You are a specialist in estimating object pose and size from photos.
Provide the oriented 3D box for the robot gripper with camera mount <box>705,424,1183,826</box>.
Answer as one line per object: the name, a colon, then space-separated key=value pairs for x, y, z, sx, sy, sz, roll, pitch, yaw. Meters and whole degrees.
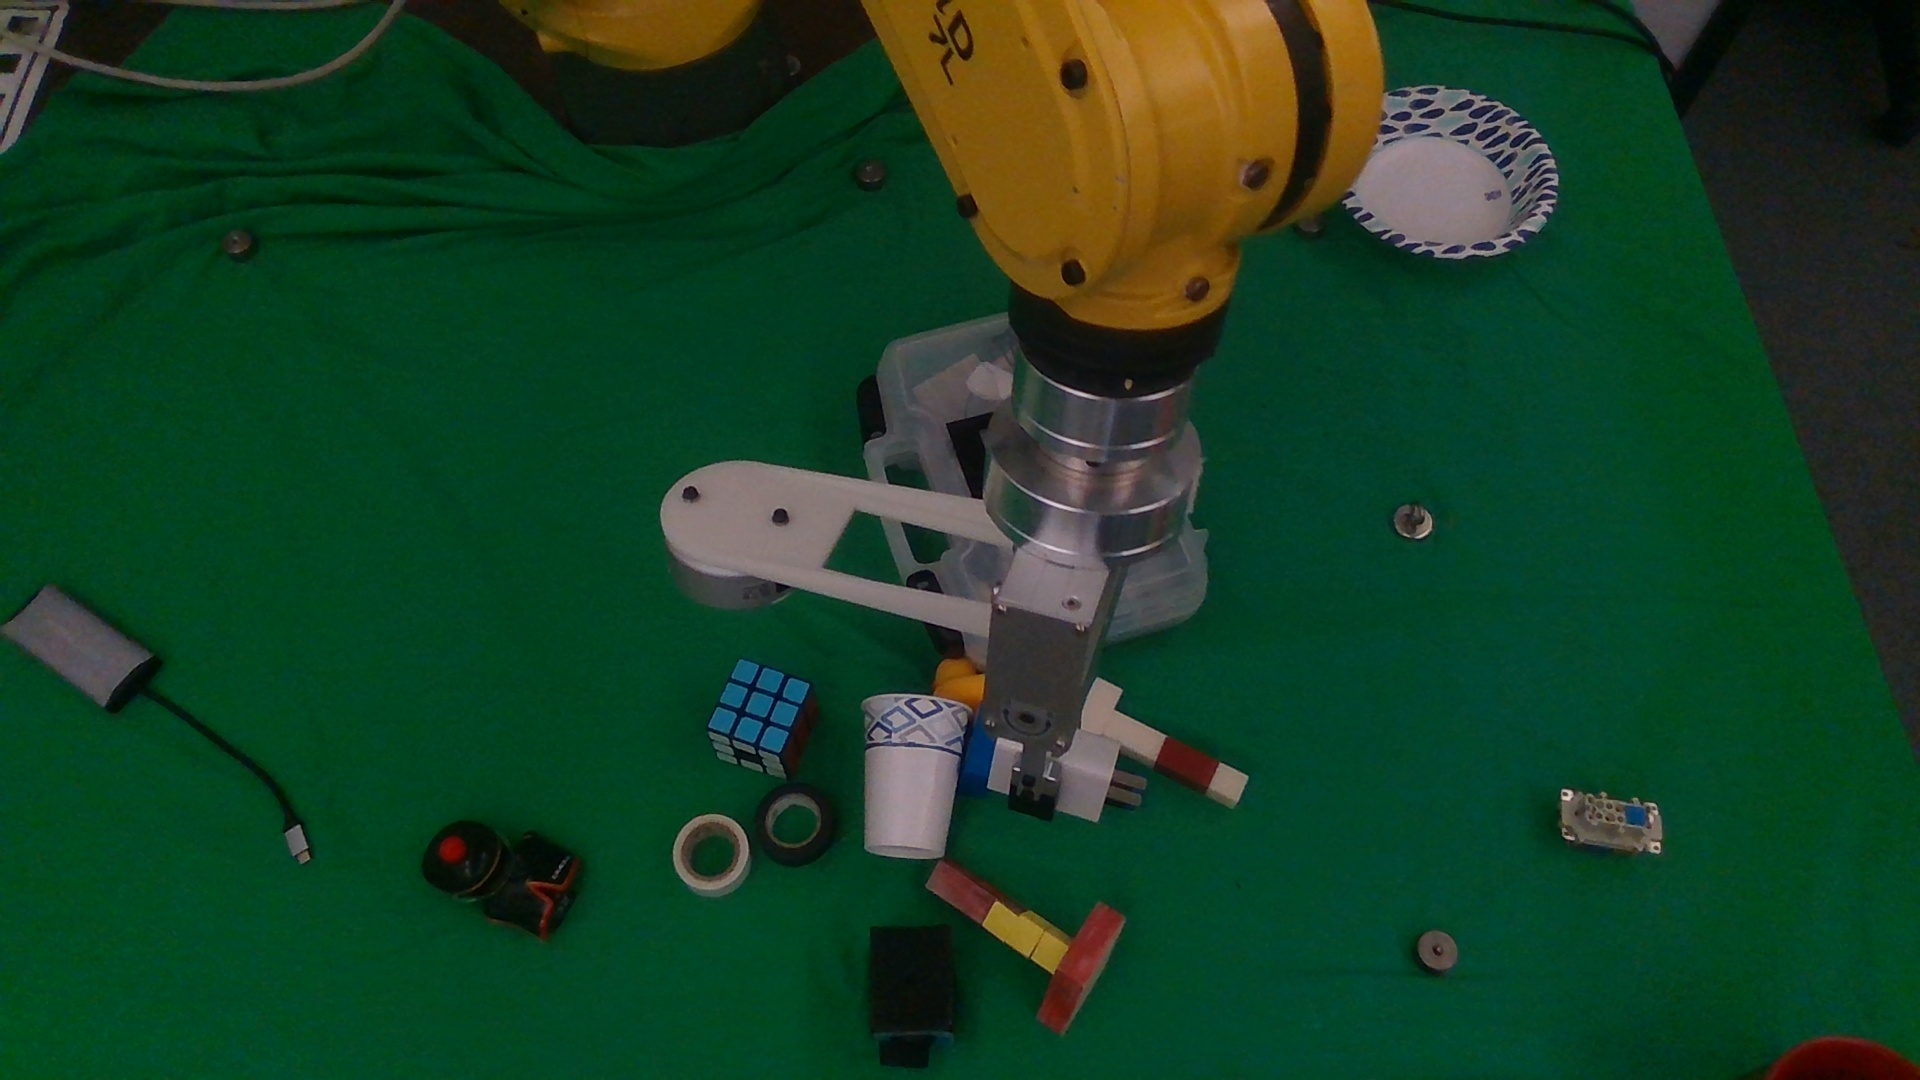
robot gripper with camera mount: x=-0.020 y=0.035 z=0.589 sx=0.194 sy=0.158 sz=0.119 roll=13 pitch=45 yaw=19

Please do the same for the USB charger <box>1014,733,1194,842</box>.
USB charger: x=0.063 y=0.107 z=0.606 sx=0.076 sy=0.044 sz=0.029 roll=18 pitch=46 yaw=11
